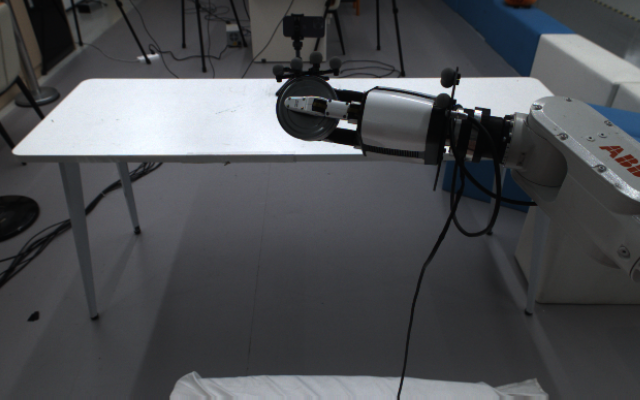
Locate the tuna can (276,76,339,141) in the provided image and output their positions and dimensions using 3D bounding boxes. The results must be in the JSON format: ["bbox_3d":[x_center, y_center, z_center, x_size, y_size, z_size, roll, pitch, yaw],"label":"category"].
[{"bbox_3d":[-0.012,-0.119,0.658,0.085,0.085,0.034,10,3,11],"label":"tuna can"}]
